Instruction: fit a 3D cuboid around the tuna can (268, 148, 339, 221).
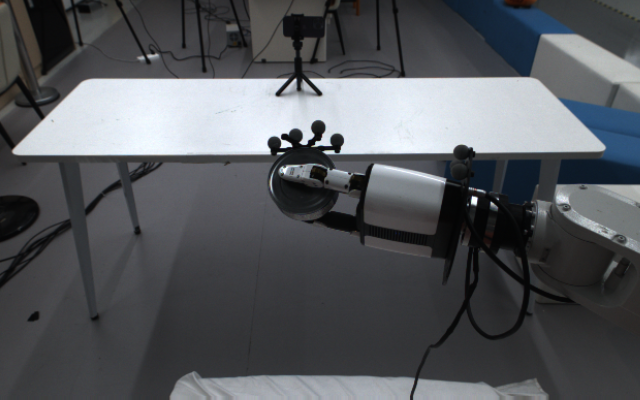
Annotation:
[{"bbox_3d":[-0.017,-0.014,0.587,0.085,0.034,0.085,-2,69,6],"label":"tuna can"}]
